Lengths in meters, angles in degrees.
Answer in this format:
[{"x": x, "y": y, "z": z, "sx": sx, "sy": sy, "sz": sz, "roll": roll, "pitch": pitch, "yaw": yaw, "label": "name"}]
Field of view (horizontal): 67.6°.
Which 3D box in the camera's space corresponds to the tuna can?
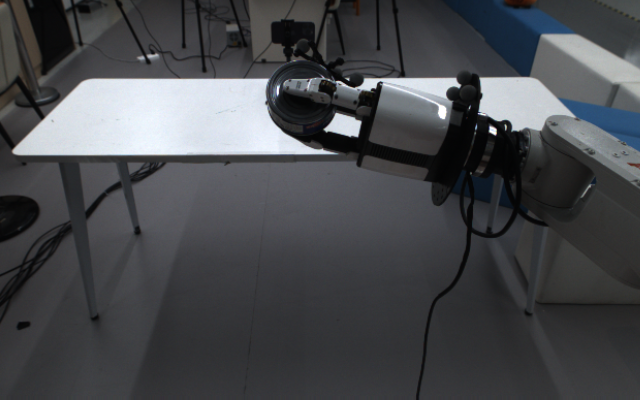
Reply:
[{"x": -0.020, "y": -0.124, "z": 0.580, "sx": 0.085, "sy": 0.034, "sz": 0.085, "roll": 0, "pitch": 74, "yaw": -1, "label": "tuna can"}]
